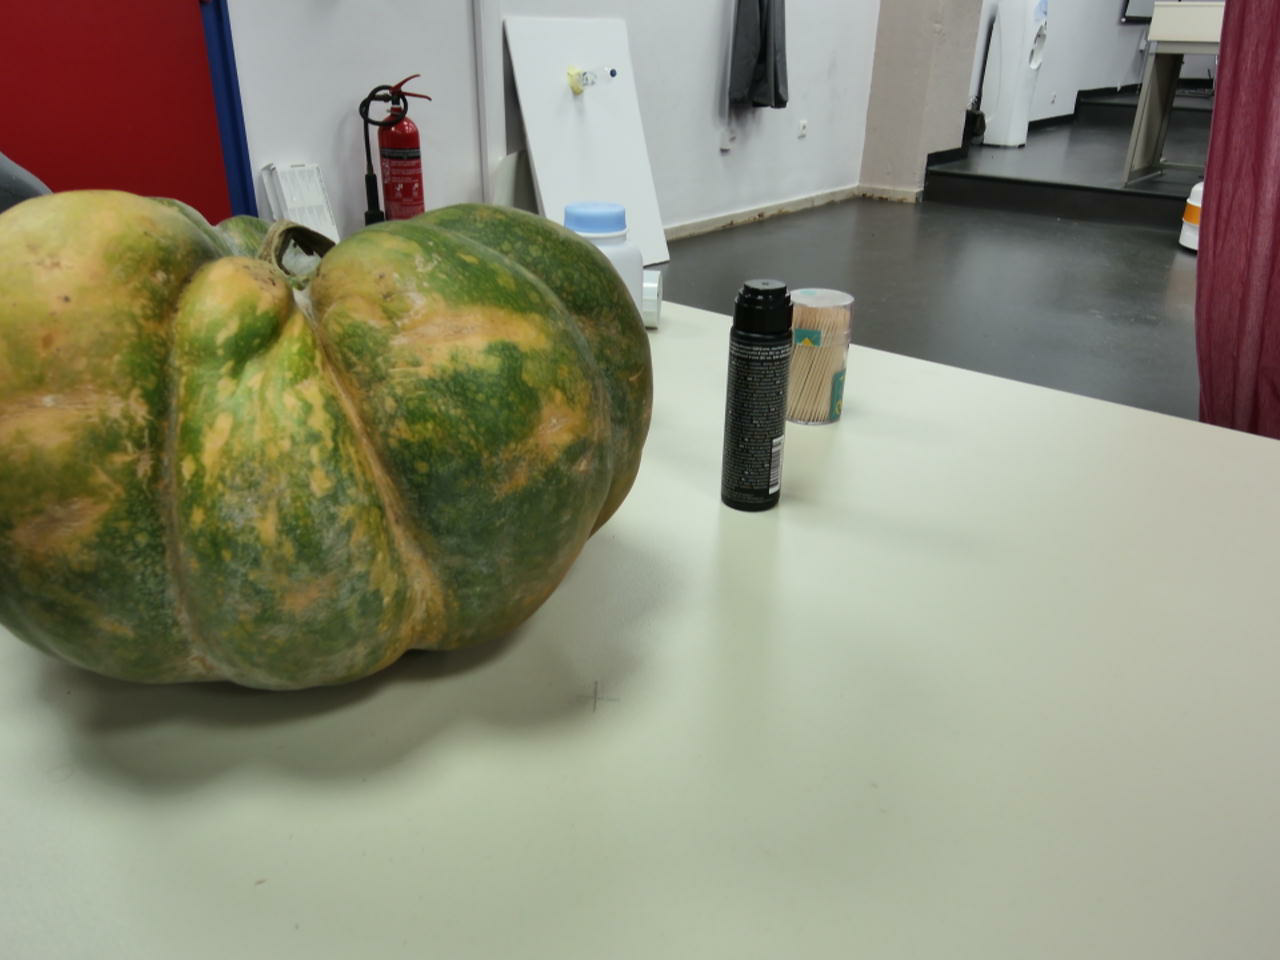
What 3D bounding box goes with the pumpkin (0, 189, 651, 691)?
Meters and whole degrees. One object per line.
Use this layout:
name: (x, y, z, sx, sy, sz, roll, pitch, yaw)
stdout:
pumpkin: (-0.132, -0.027, 0.375, 0.270, 0.173, 0.237, -6, 24, -13)
